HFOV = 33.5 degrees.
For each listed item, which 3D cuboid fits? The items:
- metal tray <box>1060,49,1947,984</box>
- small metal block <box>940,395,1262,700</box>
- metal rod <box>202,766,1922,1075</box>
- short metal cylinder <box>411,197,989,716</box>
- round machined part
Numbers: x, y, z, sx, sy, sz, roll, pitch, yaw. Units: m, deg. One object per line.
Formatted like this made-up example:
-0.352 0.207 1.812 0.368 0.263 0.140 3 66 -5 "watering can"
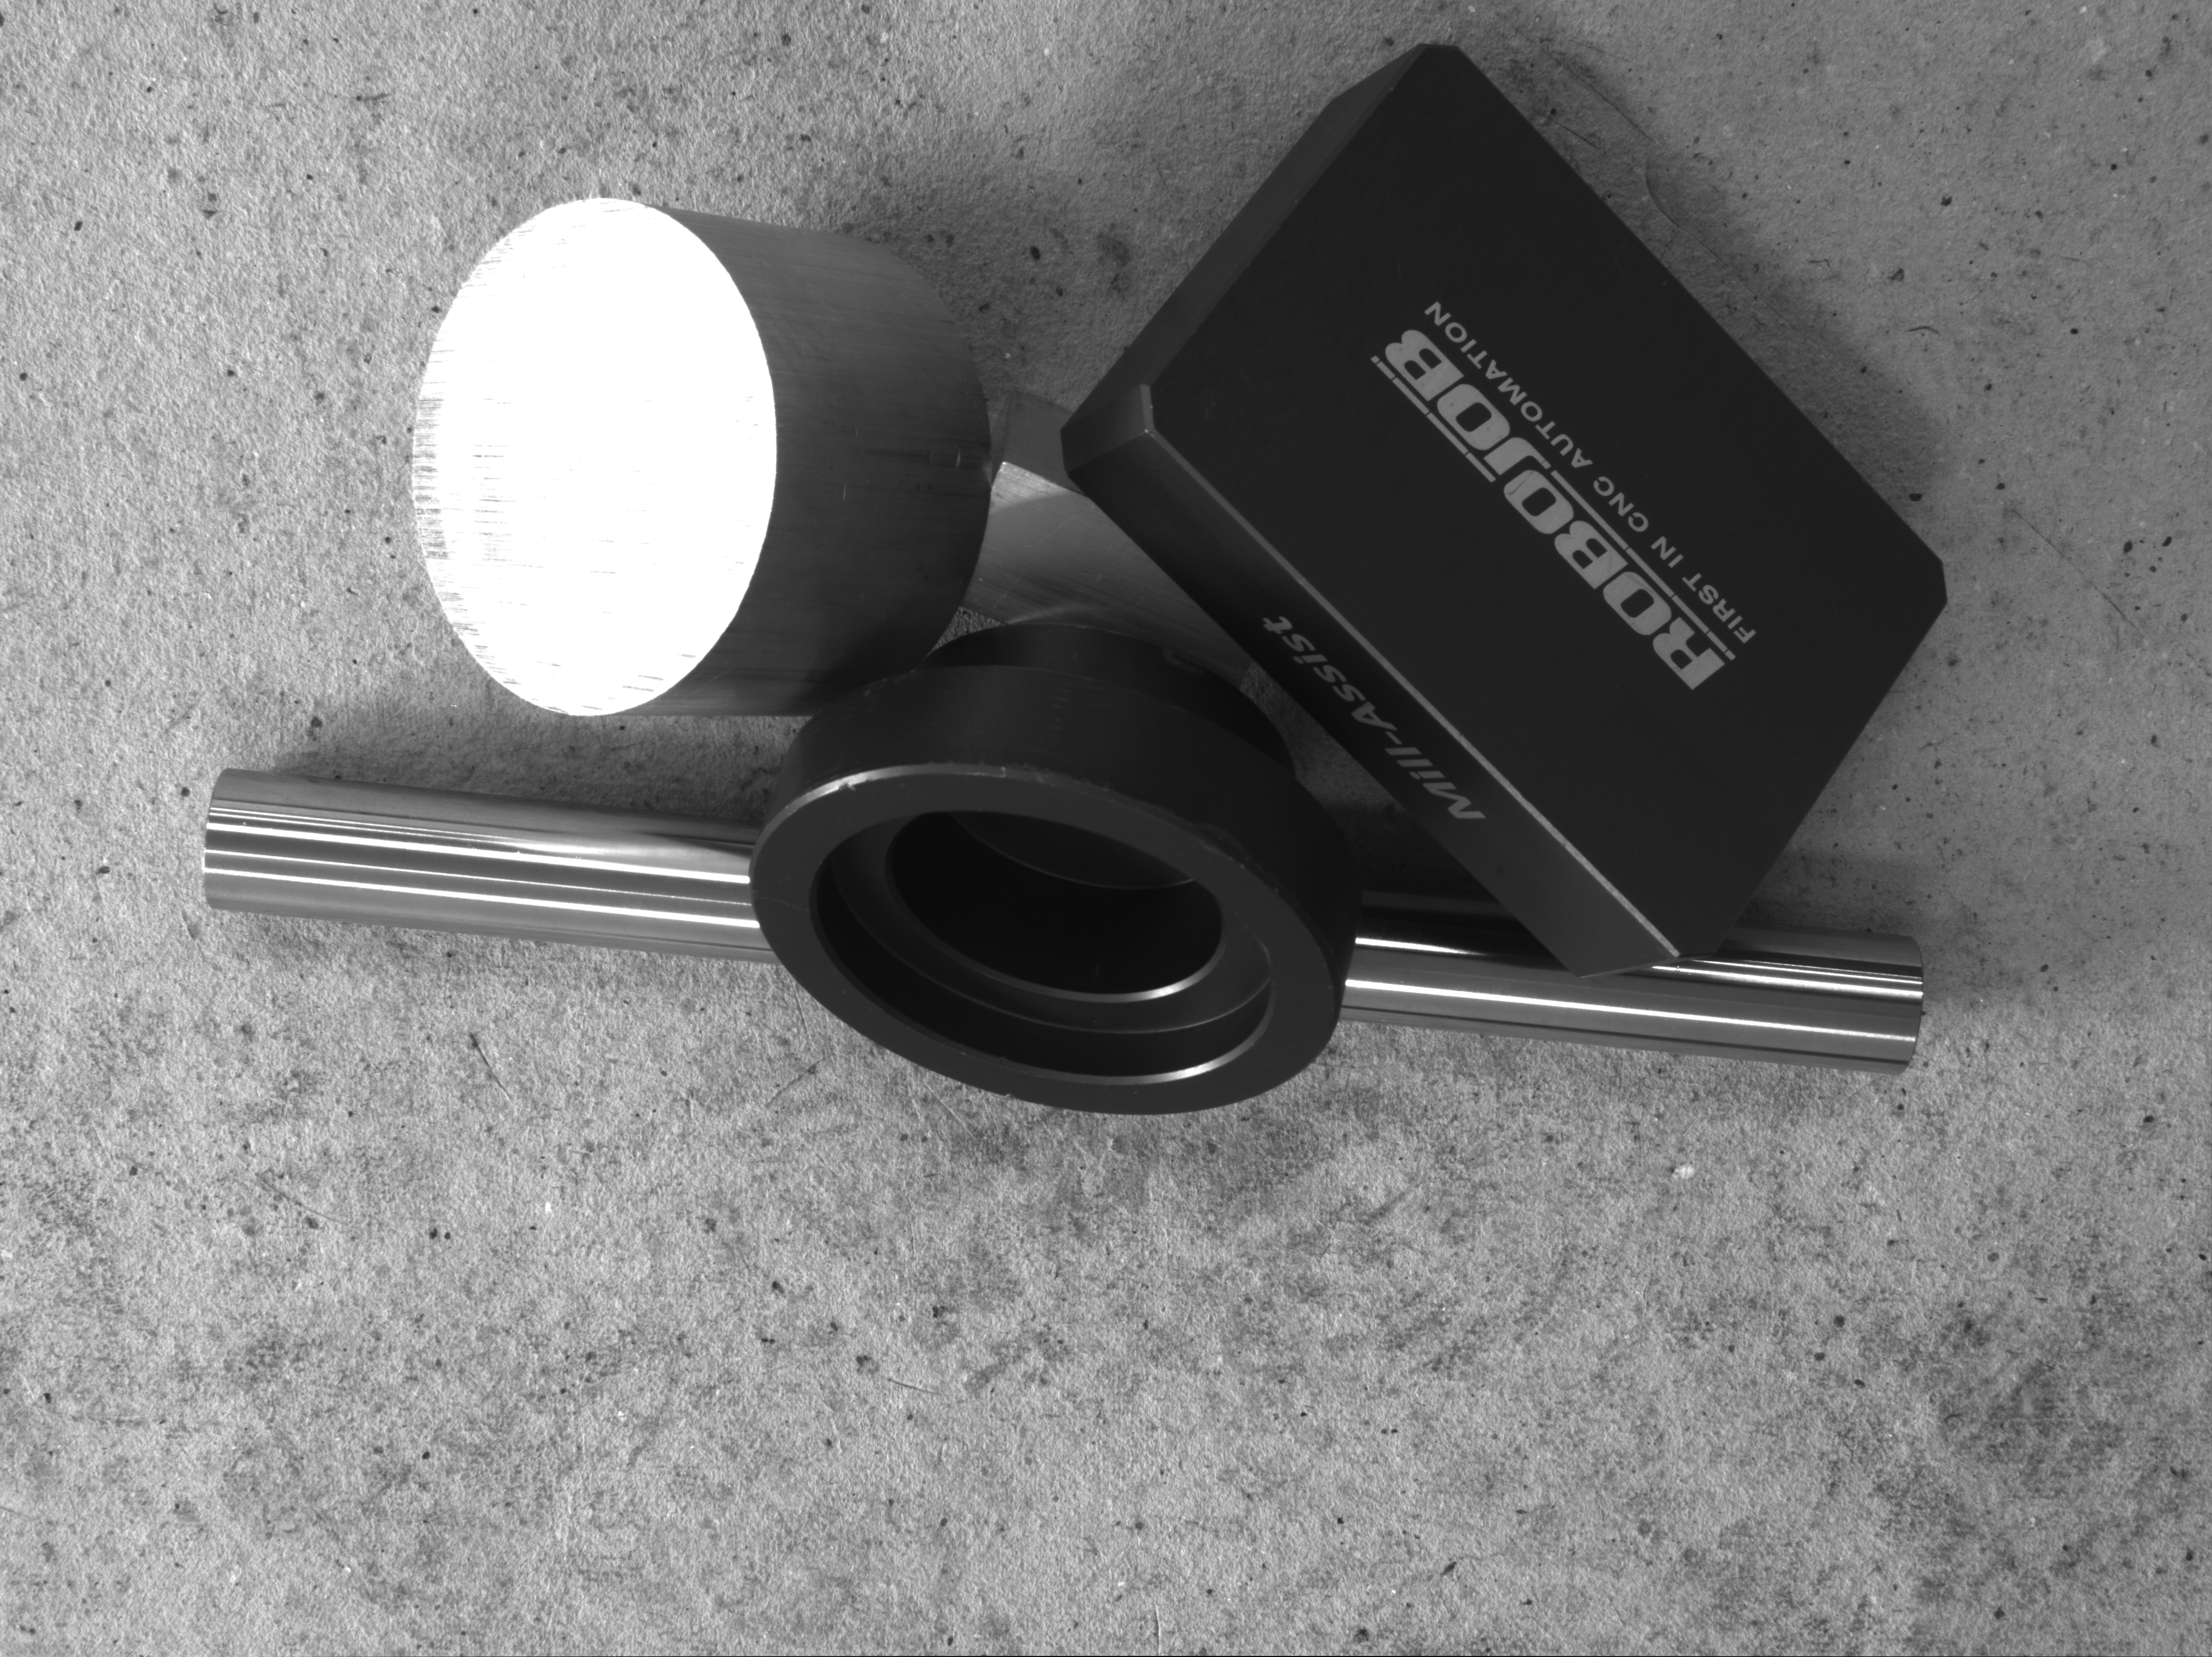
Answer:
0.067 -0.049 0.597 0.130 0.030 0.090 44 66 -14 "metal tray"
0.001 -0.045 0.613 0.050 0.050 0.025 22 108 -8 "small metal block"
-0.007 0.017 0.650 0.300 0.025 0.025 6 110 -2 "metal rod"
-0.065 -0.058 0.589 0.080 0.050 0.080 1 92 38 "short metal cylinder"
-0.006 0.003 0.604 0.098 0.042 0.098 10 145 7 "round machined part"
